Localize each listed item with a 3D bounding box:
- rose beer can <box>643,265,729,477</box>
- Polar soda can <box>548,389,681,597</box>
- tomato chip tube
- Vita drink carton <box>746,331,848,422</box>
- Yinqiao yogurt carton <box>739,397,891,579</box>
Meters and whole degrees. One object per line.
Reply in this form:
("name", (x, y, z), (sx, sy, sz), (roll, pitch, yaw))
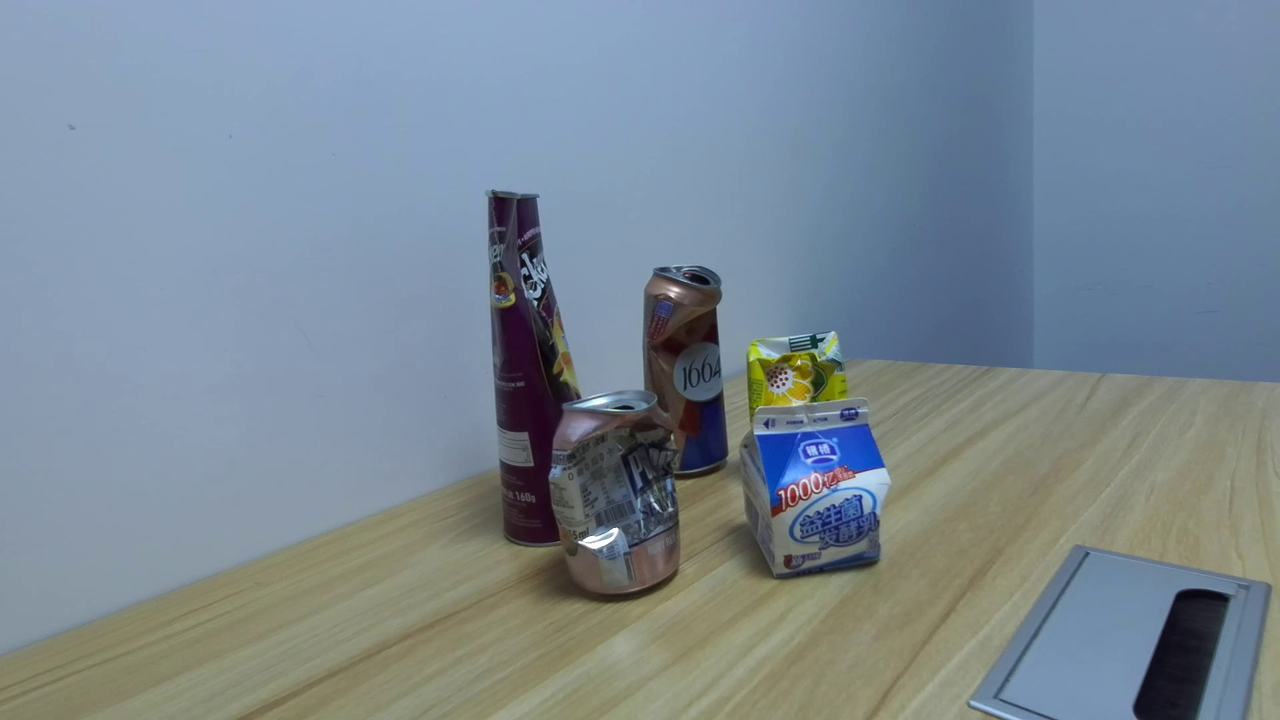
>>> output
("rose beer can", (0.036, 0.009, 0.573), (0.070, 0.168, 0.069), (-4, 14, -6))
("Polar soda can", (-0.012, 0.074, 0.410), (0.070, 0.114, 0.074), (-1, 16, 3))
("tomato chip tube", (-0.072, 0.004, 0.487), (0.077, 0.235, 0.090), (6, 14, 44))
("Vita drink carton", (0.116, 0.039, 0.518), (0.071, 0.109, 0.046), (-4, 9, 15))
("Yinqiao yogurt carton", (0.103, 0.068, 0.412), (0.074, 0.097, 0.080), (-7, 19, -5))
